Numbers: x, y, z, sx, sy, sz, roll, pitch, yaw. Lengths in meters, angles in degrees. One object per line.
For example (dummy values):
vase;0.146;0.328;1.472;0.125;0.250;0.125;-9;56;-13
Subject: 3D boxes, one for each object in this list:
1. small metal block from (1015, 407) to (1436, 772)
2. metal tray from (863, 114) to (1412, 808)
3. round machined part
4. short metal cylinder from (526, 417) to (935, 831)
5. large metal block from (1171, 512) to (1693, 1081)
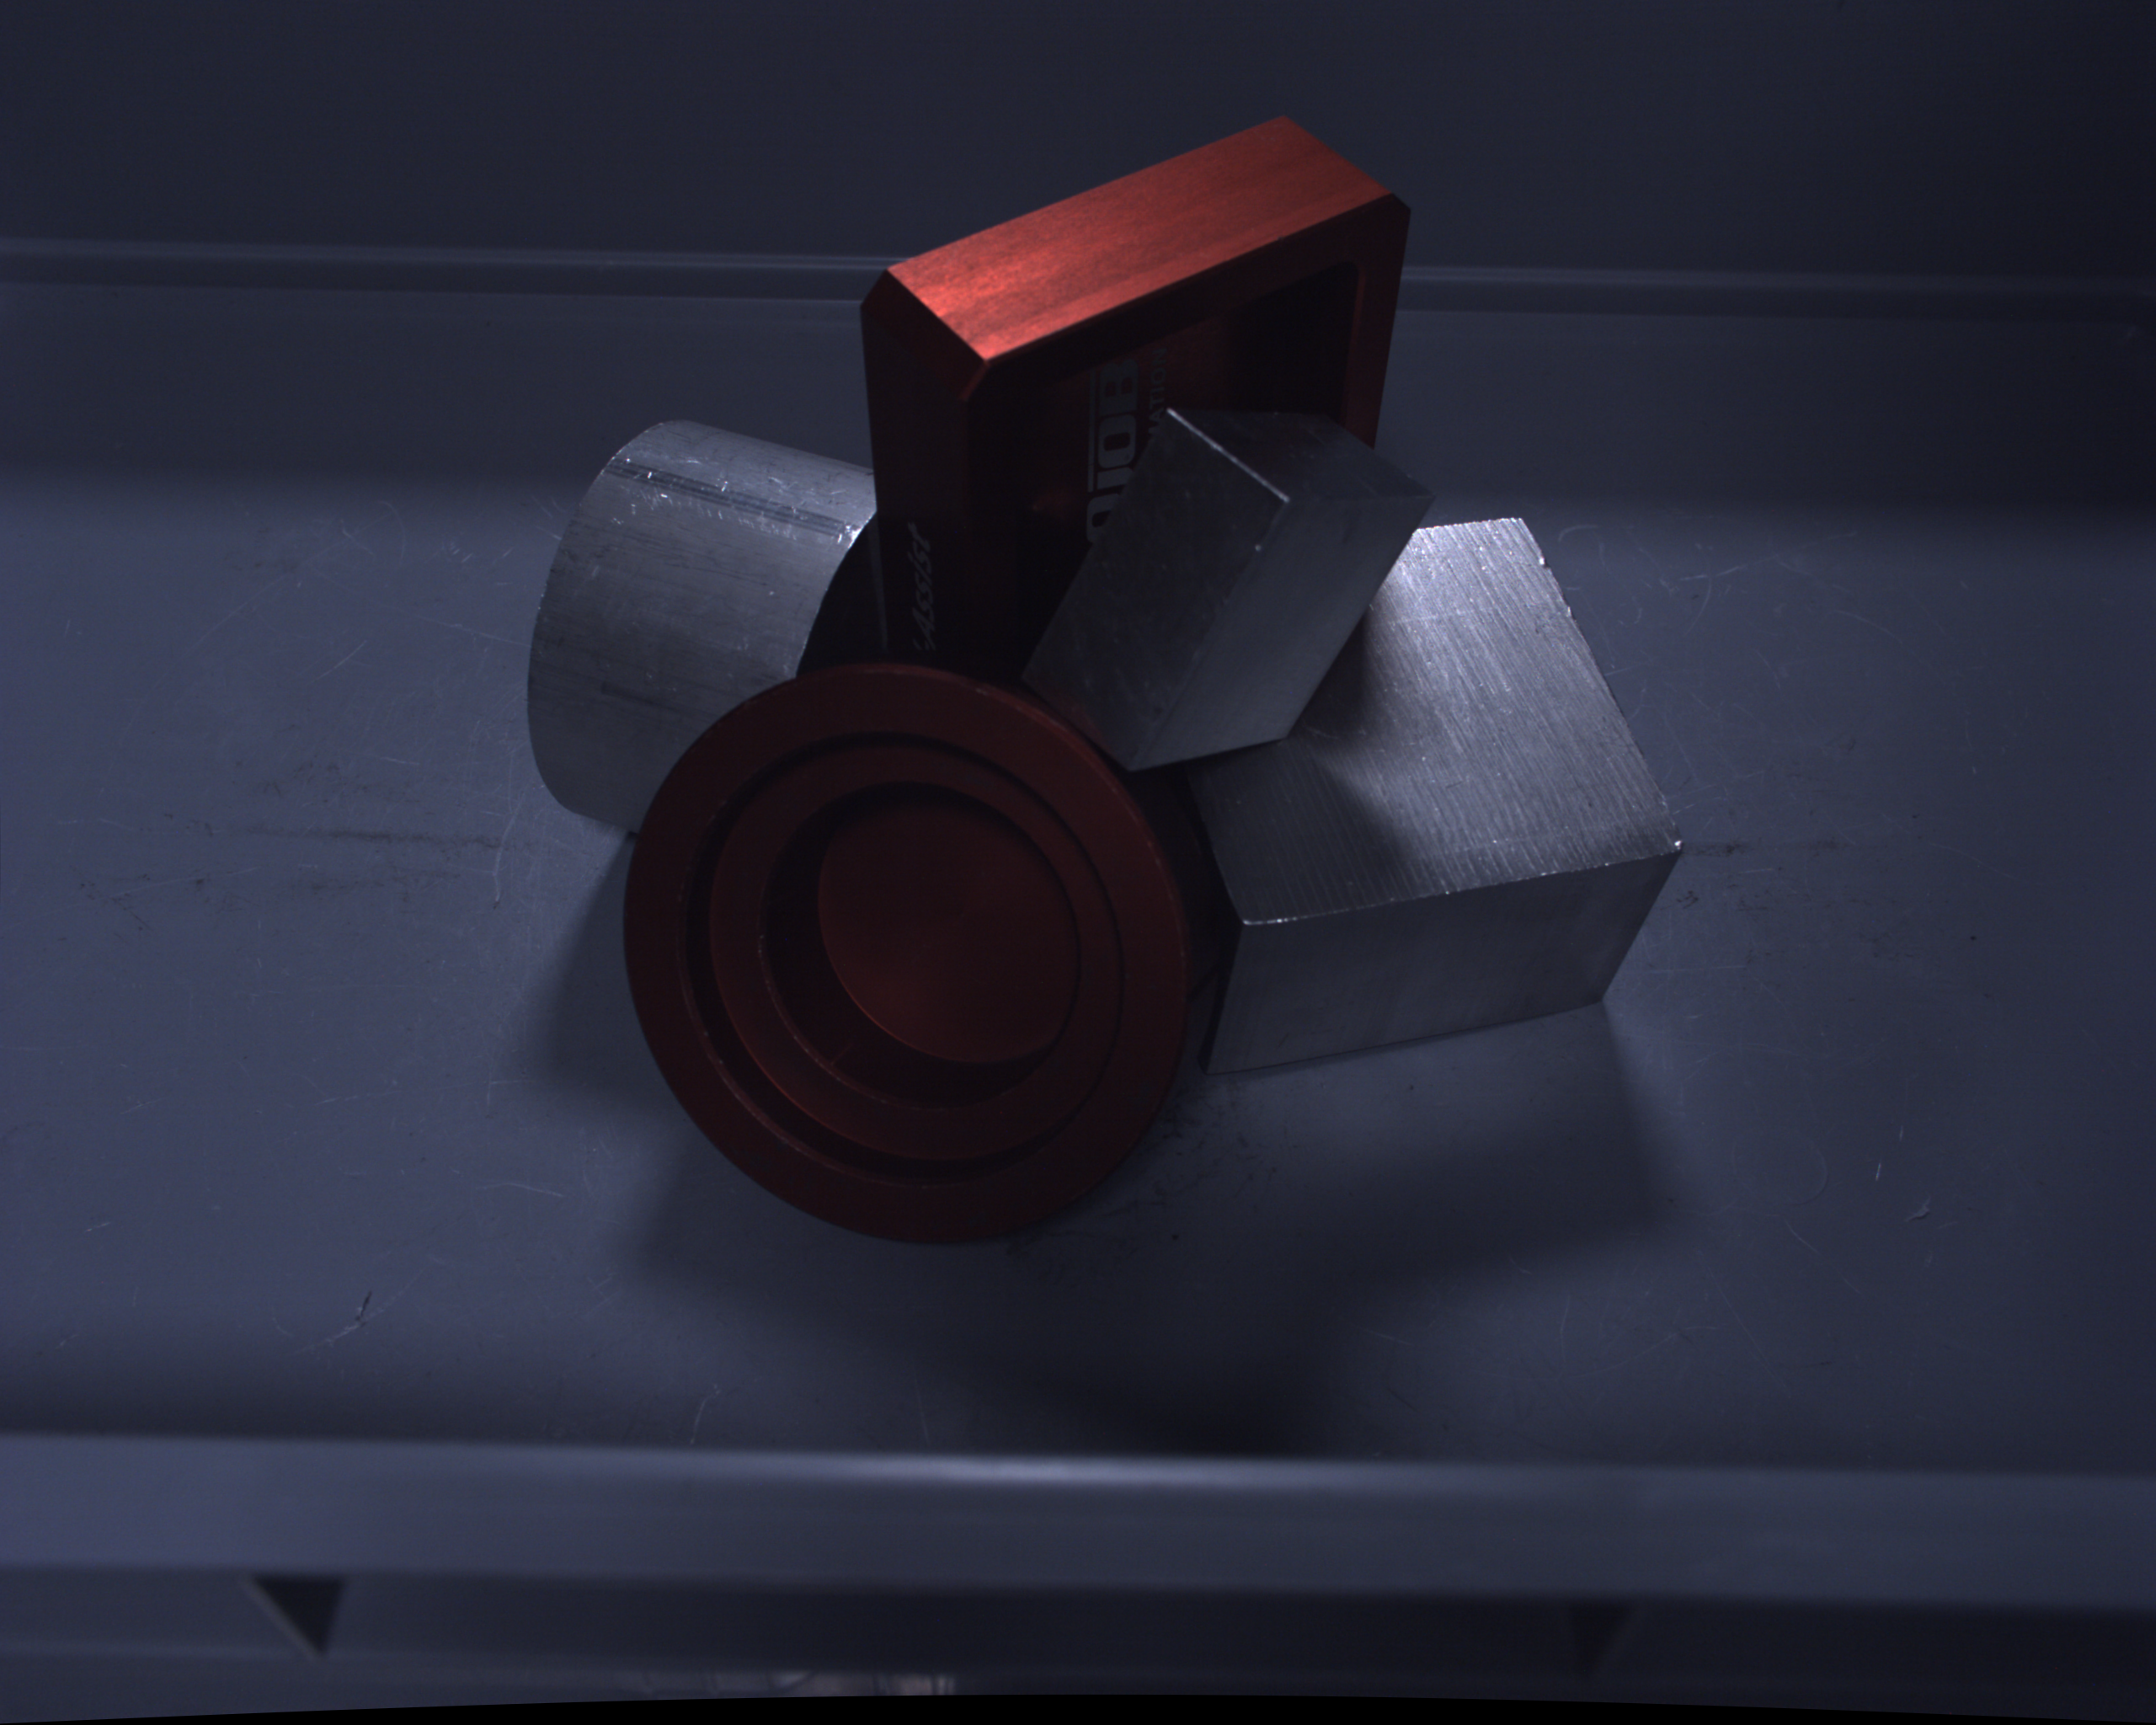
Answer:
small metal block;0.024;-0.045;0.336;0.025;0.050;0.050;42;29;21
metal tray;0.010;-0.062;0.387;0.091;0.129;0.030;-28;57;-22
round machined part;-0.024;0.012;0.358;0.098;0.097;0.042;16;16;12
short metal cylinder;-0.061;-0.040;0.400;0.050;0.080;0.080;18;52;14
large metal block;0.055;-0.014;0.389;0.081;0.050;0.080;-11;56;-10
